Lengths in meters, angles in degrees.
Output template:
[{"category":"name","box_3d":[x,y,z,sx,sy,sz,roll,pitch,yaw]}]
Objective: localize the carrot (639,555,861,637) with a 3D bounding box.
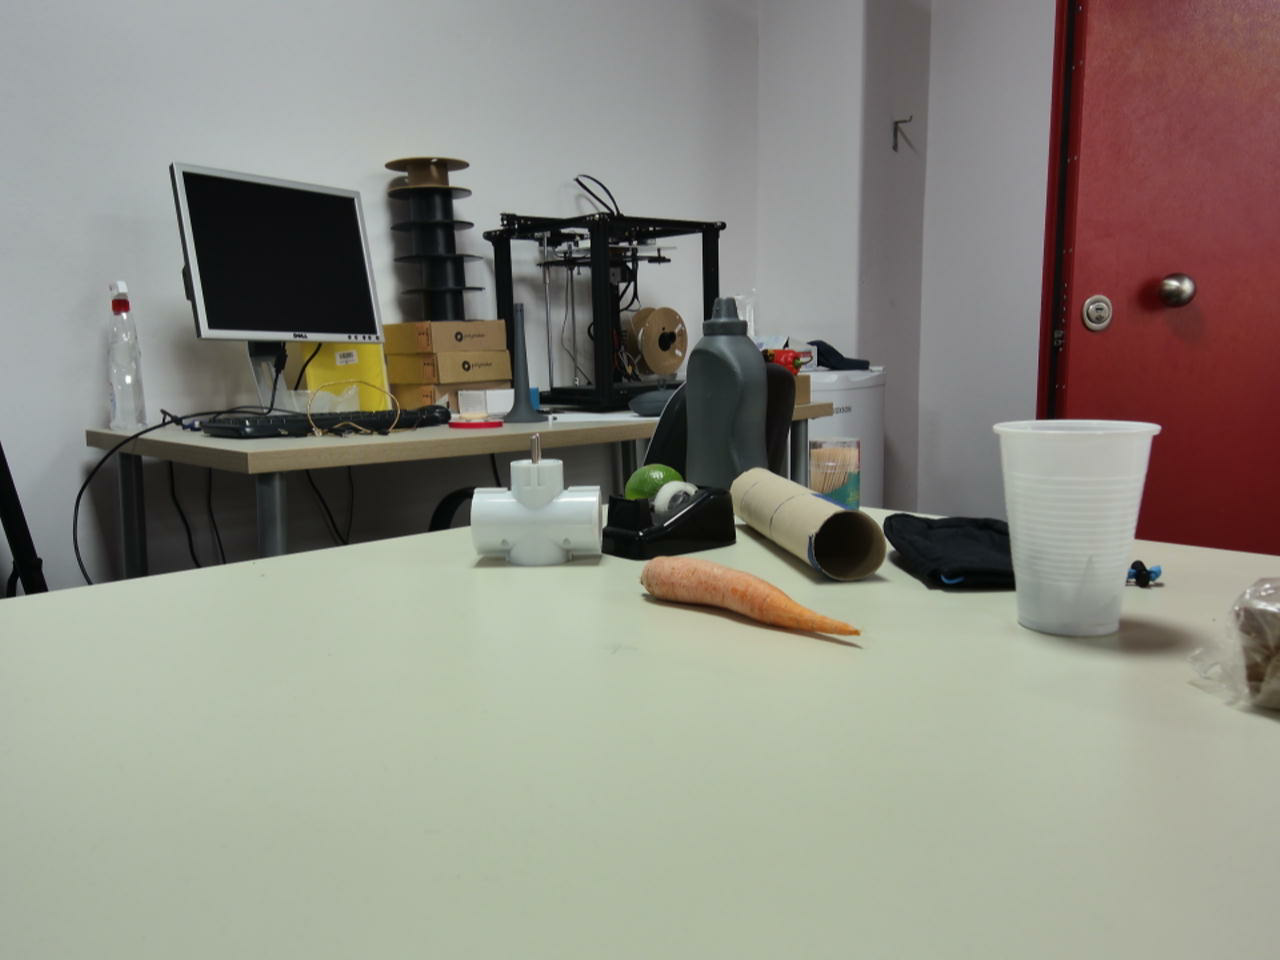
[{"category":"carrot","box_3d":[0.057,0.064,0.565,0.031,0.029,0.163,-4,8,-43]}]
